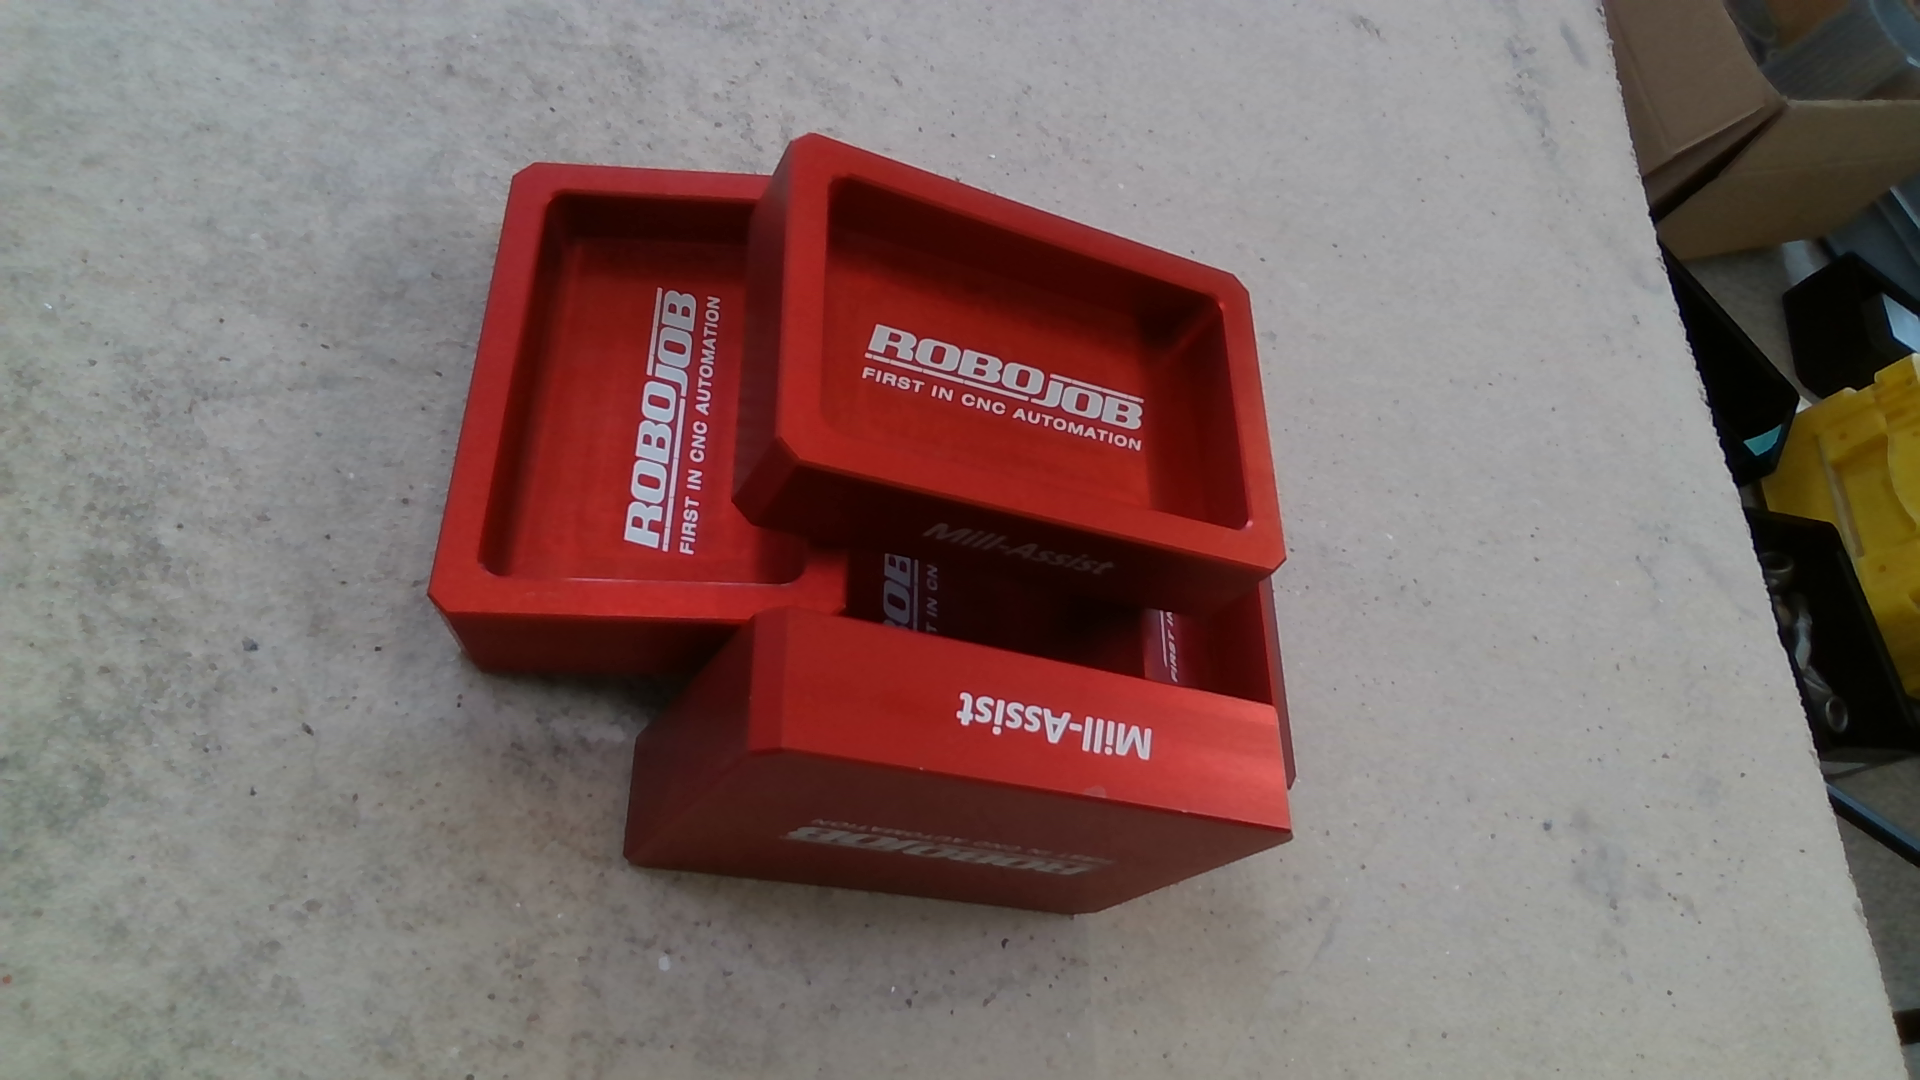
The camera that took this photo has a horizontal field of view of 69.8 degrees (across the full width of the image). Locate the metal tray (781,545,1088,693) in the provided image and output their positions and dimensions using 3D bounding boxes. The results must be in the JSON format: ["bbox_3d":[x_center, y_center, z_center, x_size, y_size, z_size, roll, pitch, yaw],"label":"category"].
[{"bbox_3d":[-0.011,-0.003,0.383,0.090,0.030,0.130,13,59,-24],"label":"metal tray"}]

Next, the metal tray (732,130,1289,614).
[{"bbox_3d":[0.014,-0.039,0.335,0.130,0.030,0.090,12,59,-23],"label":"metal tray"}]

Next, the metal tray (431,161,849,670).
[{"bbox_3d":[-0.071,-0.033,0.342,0.090,0.030,0.130,2,62,-3],"label":"metal tray"}]

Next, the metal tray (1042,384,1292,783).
[{"bbox_3d":[0.059,0.002,0.403,0.090,0.030,0.130,34,47,-47],"label":"metal tray"}]

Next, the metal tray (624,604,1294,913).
[{"bbox_3d":[-0.001,0.057,0.319,0.130,0.090,0.030,13,59,-25],"label":"metal tray"}]
